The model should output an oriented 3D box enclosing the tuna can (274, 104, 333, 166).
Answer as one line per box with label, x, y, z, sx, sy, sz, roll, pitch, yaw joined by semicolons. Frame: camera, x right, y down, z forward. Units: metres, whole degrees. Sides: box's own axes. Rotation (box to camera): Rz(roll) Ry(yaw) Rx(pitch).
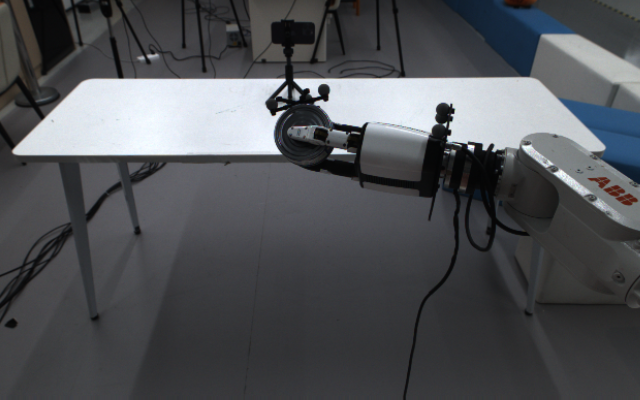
tuna can;-0.018;-0.088;0.690;0.085;0.085;0.034;12;-4;14
